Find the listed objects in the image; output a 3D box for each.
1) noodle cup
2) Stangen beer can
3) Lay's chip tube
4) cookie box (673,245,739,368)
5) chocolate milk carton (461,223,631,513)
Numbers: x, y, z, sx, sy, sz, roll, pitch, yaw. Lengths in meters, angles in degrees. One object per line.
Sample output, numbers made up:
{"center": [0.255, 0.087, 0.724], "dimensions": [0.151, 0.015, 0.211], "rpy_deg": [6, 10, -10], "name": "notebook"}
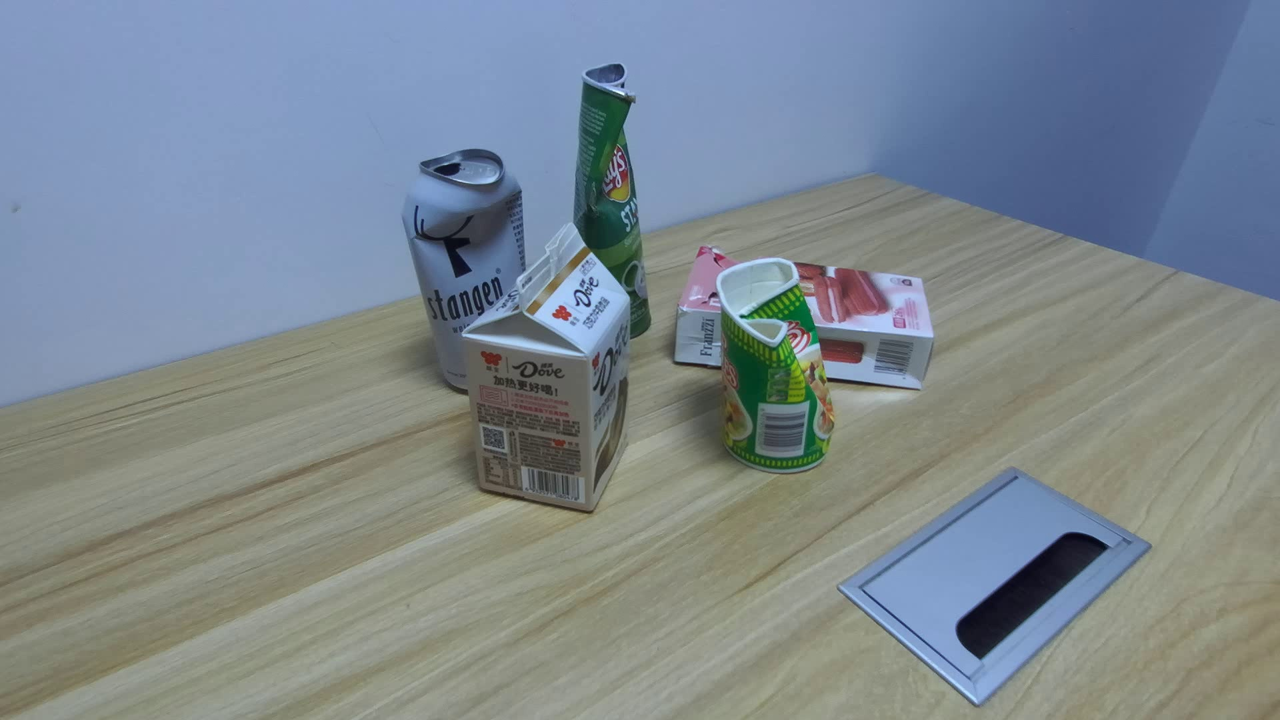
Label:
{"center": [0.086, 0.005, 0.433], "dimensions": [0.083, 0.122, 0.075], "rpy_deg": [-35, 37, -28], "name": "noodle cup"}
{"center": [-0.116, -0.058, 0.492], "dimensions": [0.066, 0.162, 0.077], "rpy_deg": [-1, 34, -2], "name": "Stangen beer can"}
{"center": [-0.024, -0.116, 0.545], "dimensions": [0.069, 0.201, 0.077], "rpy_deg": [-19, 40, -26], "name": "Lay's chip tube"}
{"center": [0.087, -0.044, 0.633], "dimensions": [0.105, 0.059, 0.186], "rpy_deg": [3, 25, 7], "name": "cookie box"}
{"center": [-0.050, 0.002, 0.406], "dimensions": [0.074, 0.148, 0.075], "rpy_deg": [9, 32, 13], "name": "chocolate milk carton"}
